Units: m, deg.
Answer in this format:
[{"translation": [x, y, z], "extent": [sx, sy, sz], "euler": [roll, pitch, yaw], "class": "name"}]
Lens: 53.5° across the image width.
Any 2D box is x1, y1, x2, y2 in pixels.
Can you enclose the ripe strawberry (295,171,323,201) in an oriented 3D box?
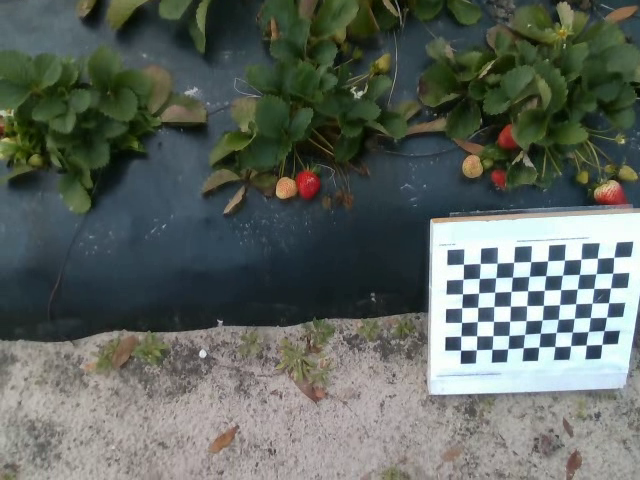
[{"translation": [-0.017, -0.071, 0.790], "extent": [0.034, 0.042, 0.033], "euler": [27, -43, -8], "class": "ripe strawberry"}]
